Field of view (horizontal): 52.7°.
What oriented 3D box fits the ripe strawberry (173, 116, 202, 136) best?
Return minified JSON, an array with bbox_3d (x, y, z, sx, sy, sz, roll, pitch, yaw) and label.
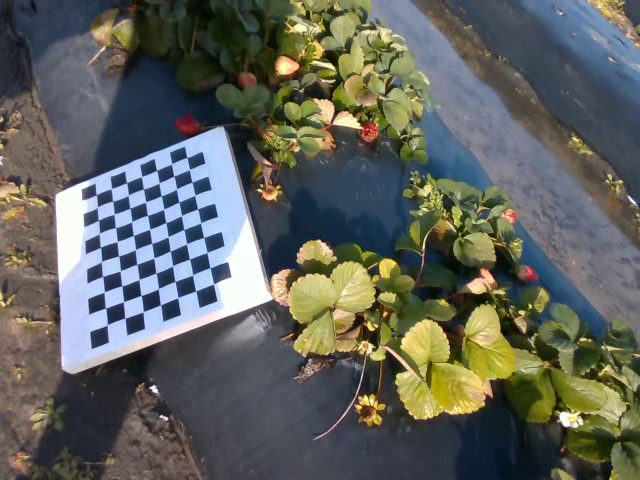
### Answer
[{"bbox_3d":[-0.172,-0.146,0.837,0.037,0.035,0.033,13,-47,-38],"label":"ripe strawberry"}]
